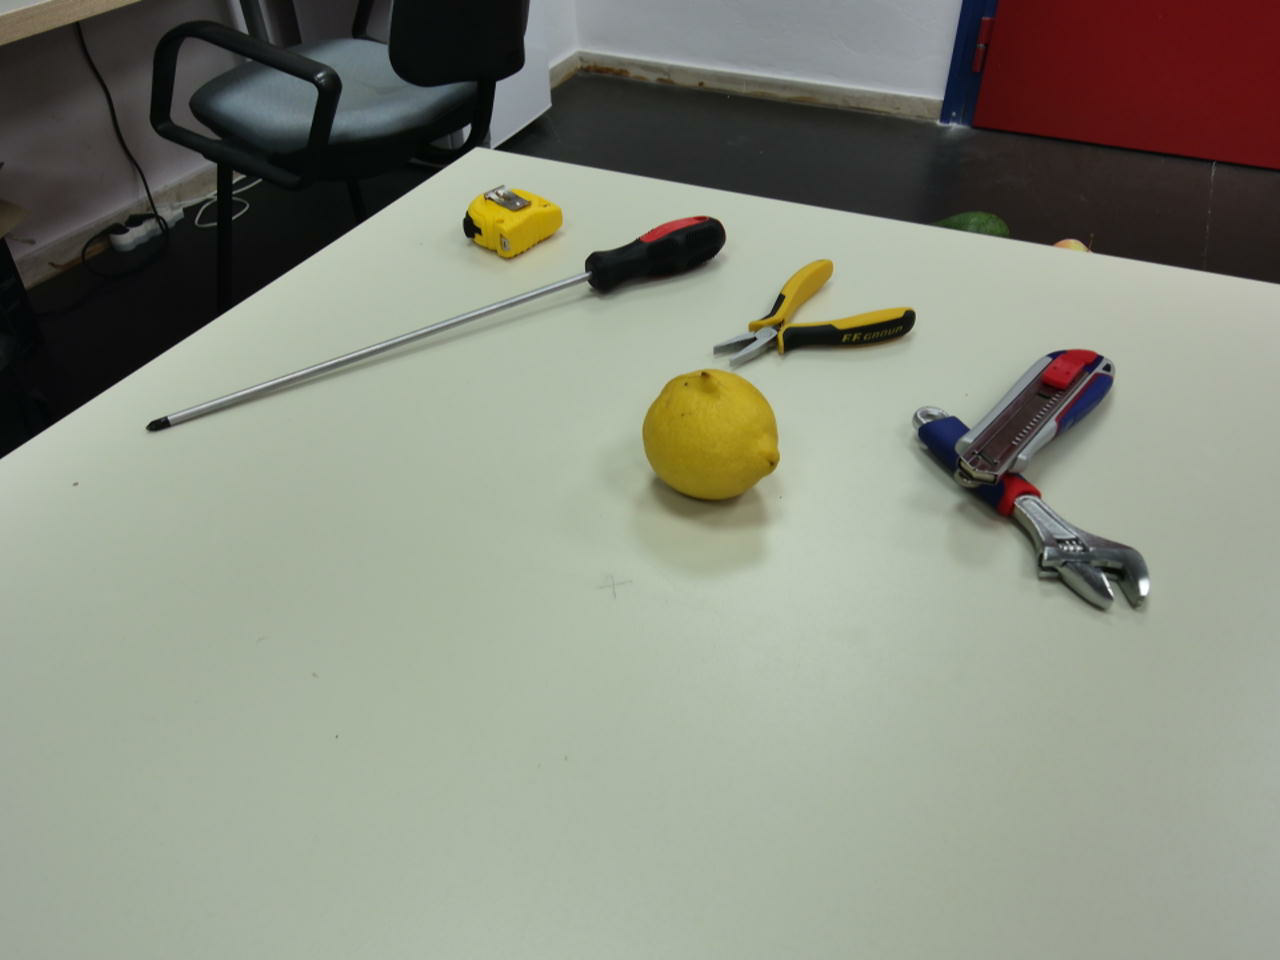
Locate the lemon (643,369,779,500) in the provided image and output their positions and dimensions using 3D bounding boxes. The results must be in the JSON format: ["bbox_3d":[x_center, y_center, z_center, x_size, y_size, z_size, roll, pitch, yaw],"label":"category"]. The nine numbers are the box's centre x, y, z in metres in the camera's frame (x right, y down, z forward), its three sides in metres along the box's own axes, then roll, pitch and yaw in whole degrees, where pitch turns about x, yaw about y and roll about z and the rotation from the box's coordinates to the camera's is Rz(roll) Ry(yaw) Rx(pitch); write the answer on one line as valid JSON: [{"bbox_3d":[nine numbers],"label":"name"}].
[{"bbox_3d":[0.037,-0.027,0.528,0.070,0.071,0.071,-5,38,-6],"label":"lemon"}]
